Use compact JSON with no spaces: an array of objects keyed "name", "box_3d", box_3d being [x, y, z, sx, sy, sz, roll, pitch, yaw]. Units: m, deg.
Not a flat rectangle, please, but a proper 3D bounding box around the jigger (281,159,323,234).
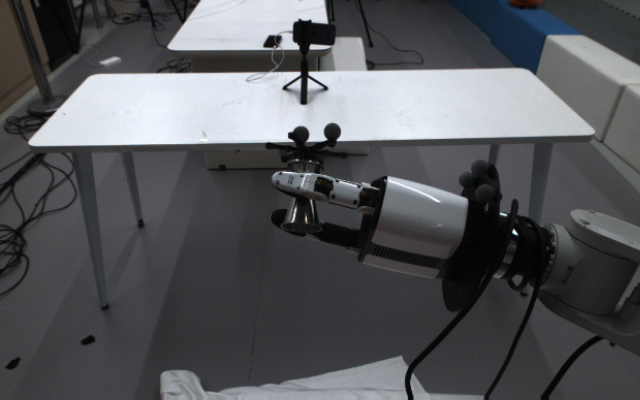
[{"name":"jigger","box_3d":[-0.017,-0.003,0.510,0.043,0.043,0.071,3,75,1]}]
